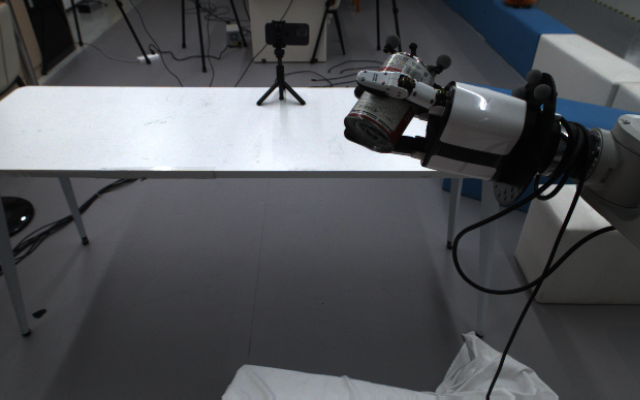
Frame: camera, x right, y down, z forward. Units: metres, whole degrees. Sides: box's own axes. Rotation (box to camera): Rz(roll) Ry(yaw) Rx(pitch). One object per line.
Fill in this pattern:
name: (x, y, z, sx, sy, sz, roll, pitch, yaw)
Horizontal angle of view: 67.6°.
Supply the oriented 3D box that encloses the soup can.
soup can: (0.083, -0.119, 0.582, 0.067, 0.067, 0.101, 26, 75, 31)
